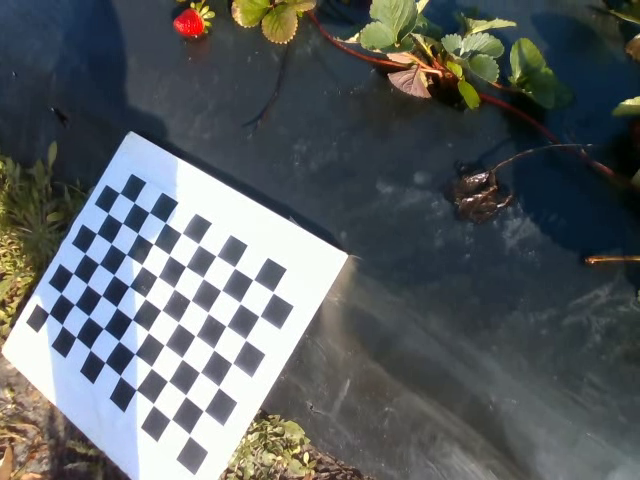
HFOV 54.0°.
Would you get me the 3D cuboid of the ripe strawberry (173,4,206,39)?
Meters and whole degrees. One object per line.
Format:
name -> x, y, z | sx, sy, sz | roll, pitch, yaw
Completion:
ripe strawberry -> -0.121, -0.197, 0.572 | 0.028, 0.031, 0.041 | 1, 20, 25
